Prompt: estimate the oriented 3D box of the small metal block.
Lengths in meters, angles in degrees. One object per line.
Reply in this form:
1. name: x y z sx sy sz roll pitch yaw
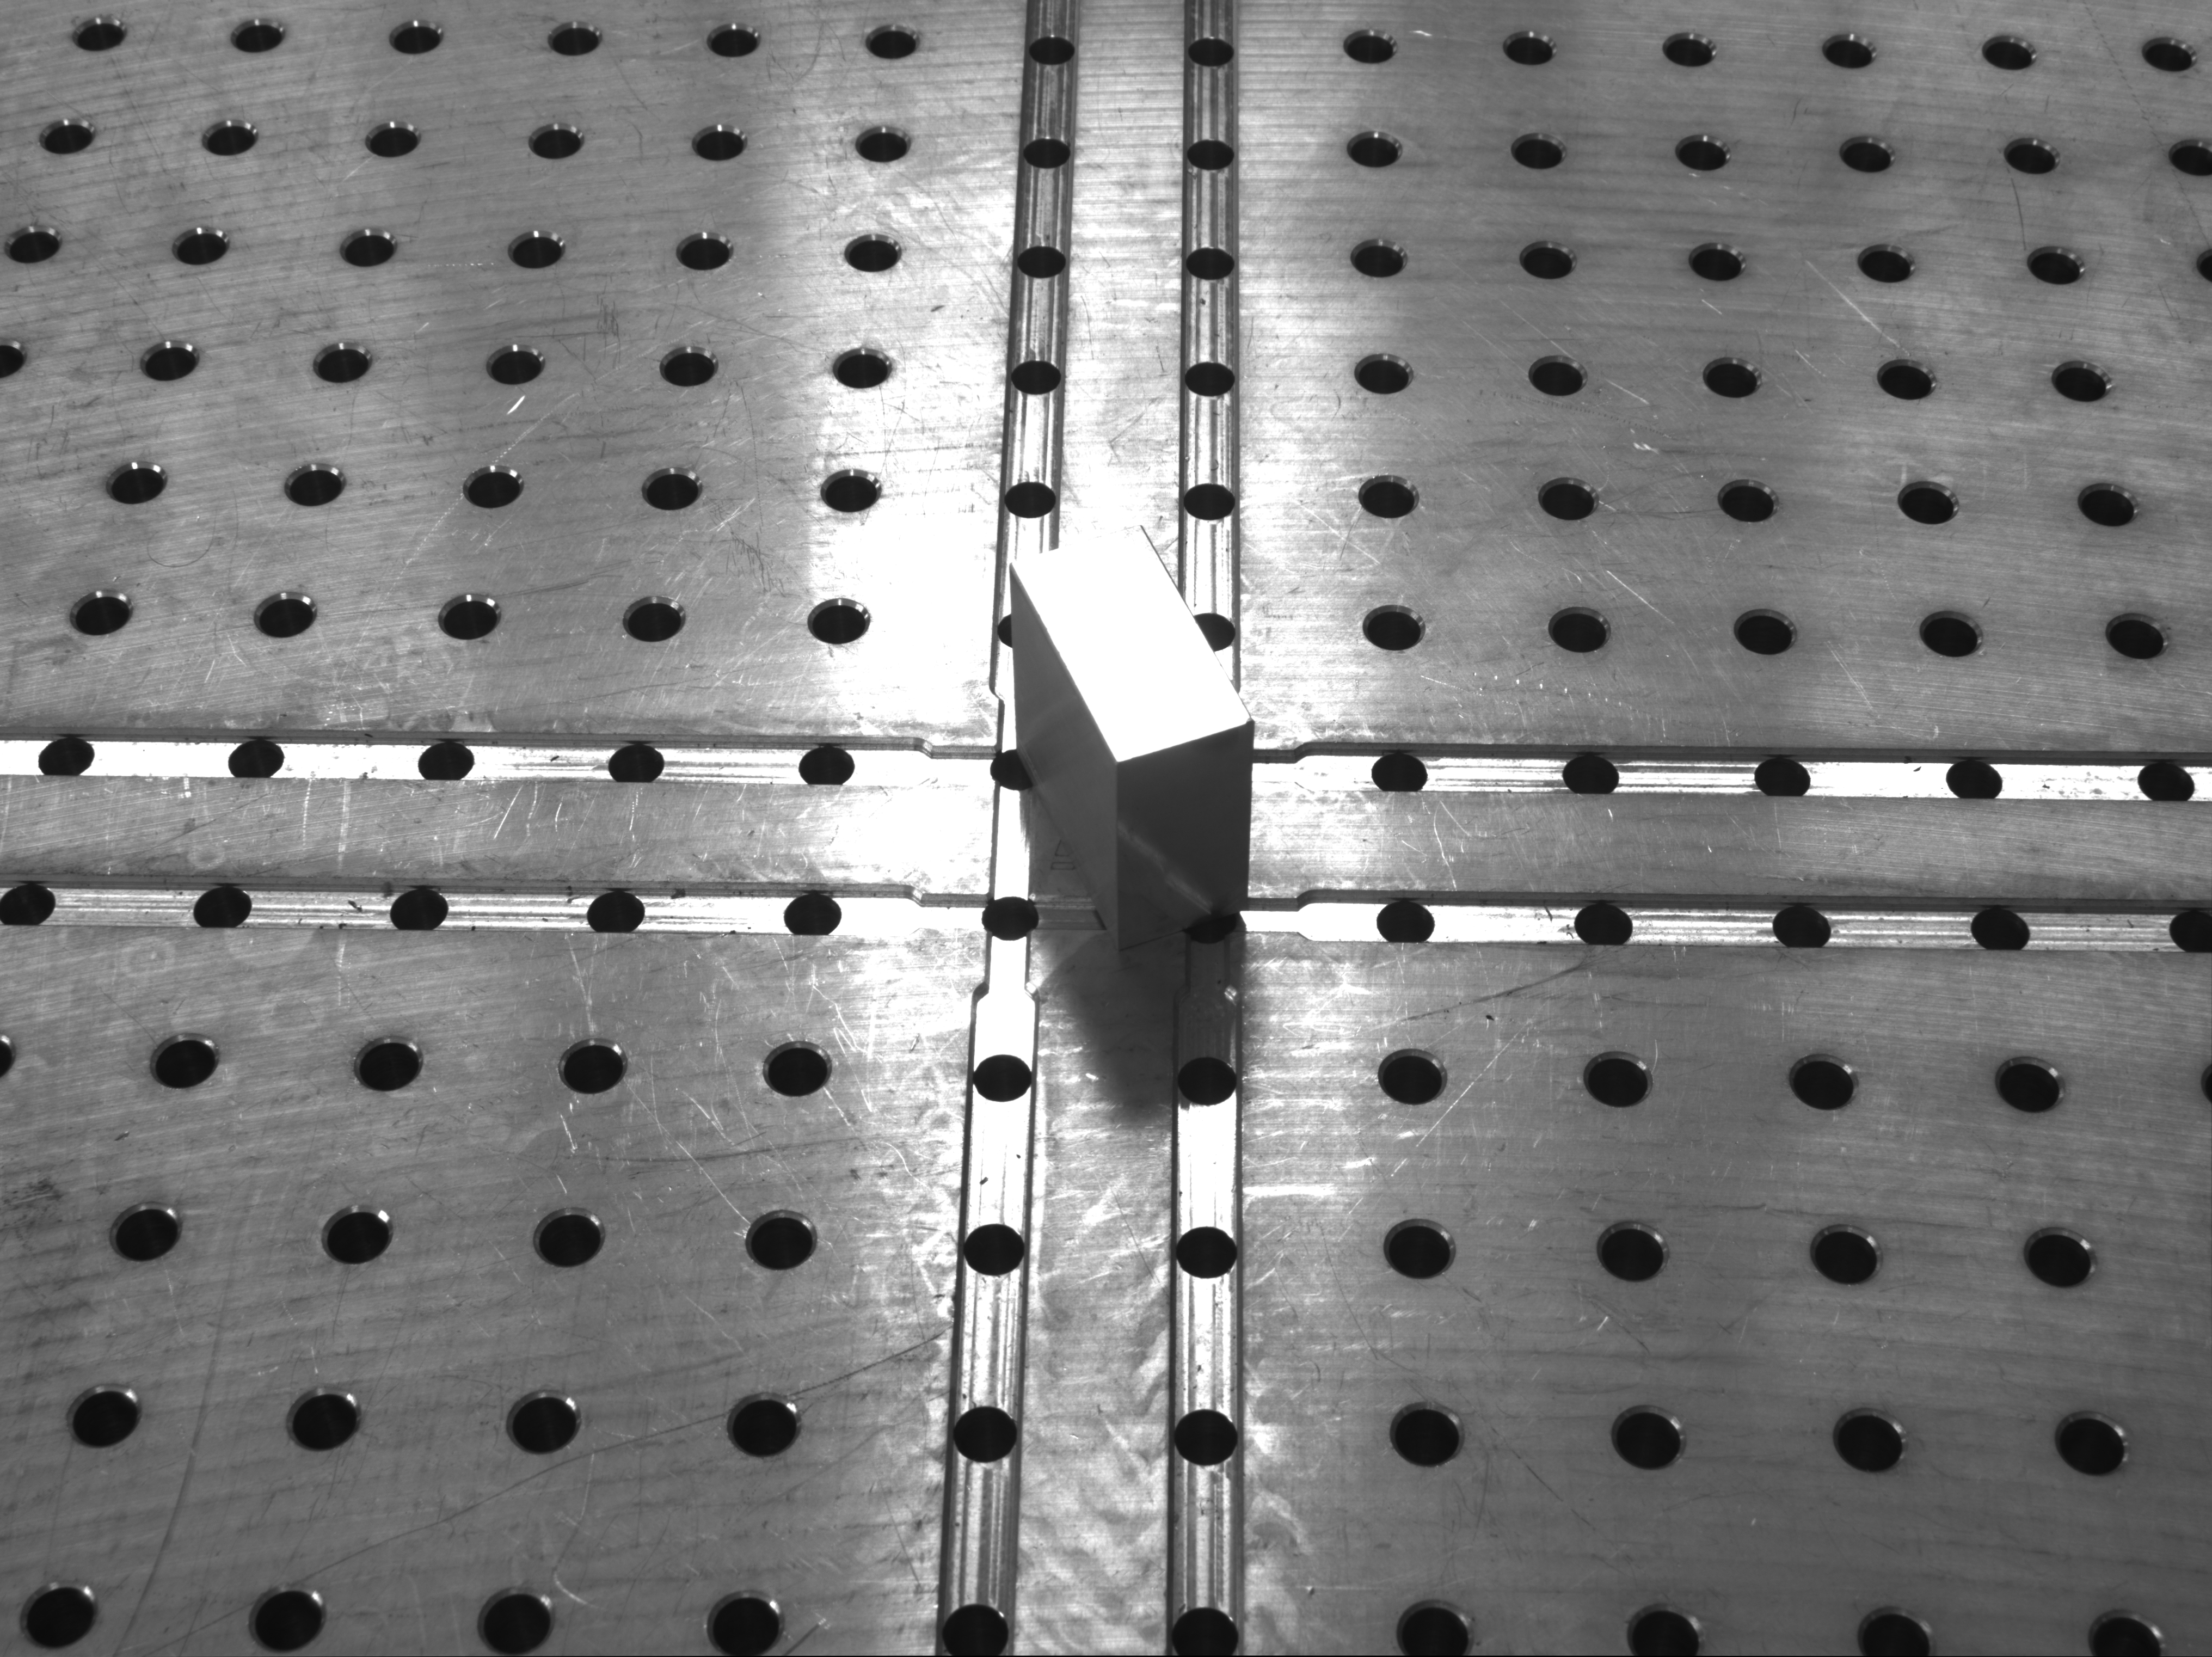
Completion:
1. small metal block: 0.004 -0.016 0.642 0.025 0.050 0.050 -17 52 -14
